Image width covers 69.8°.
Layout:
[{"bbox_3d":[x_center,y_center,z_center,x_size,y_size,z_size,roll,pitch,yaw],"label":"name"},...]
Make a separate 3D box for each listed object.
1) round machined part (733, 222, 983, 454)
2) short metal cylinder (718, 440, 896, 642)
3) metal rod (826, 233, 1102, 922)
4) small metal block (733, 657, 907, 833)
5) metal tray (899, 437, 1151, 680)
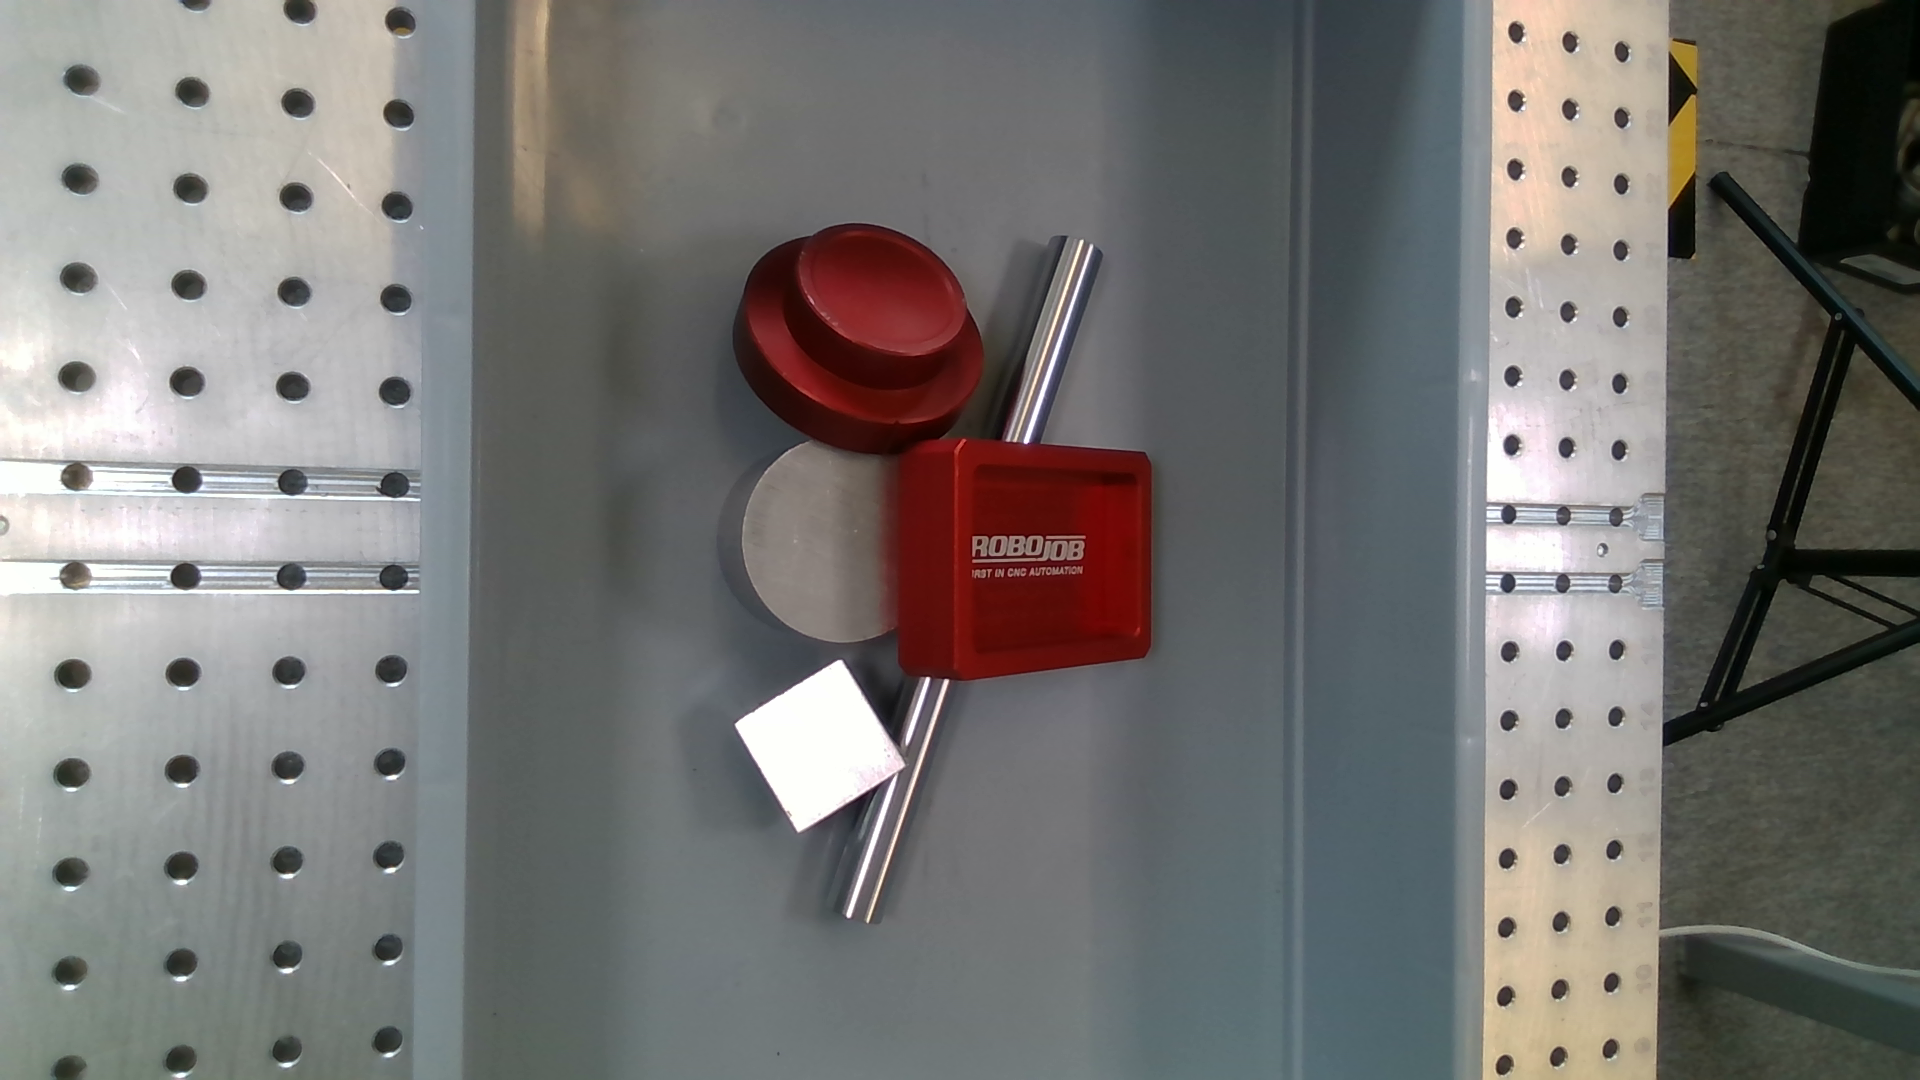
[{"bbox_3d":[-0.036,-0.085,0.537,0.098,0.042,0.098,13,53,-17],"label":"round machined part"},{"bbox_3d":[-0.053,-0.001,0.552,0.080,0.050,0.080,0,90,-20],"label":"short metal cylinder"},{"bbox_3d":[0.003,0.013,0.586,0.025,0.025,0.300,21,83,-19],"label":"metal rod"},{"bbox_3d":[-0.055,0.082,0.553,0.050,0.025,0.050,-31,85,-2],"label":"small metal block"},{"bbox_3d":[0.030,0.006,0.562,0.130,0.030,0.090,-1,91,-49],"label":"metal tray"}]
